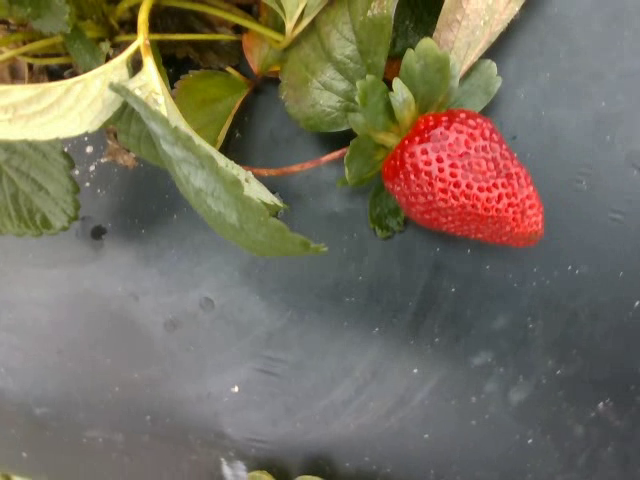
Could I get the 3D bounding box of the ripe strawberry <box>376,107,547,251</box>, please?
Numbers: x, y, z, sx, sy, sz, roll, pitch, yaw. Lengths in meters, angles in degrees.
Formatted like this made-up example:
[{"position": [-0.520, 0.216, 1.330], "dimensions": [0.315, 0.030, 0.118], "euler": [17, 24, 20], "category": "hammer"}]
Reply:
[{"position": [0.048, -0.016, 0.198], "dimensions": [0.048, 0.064, 0.046], "euler": [-33, -30, -20], "category": "ripe strawberry"}]
